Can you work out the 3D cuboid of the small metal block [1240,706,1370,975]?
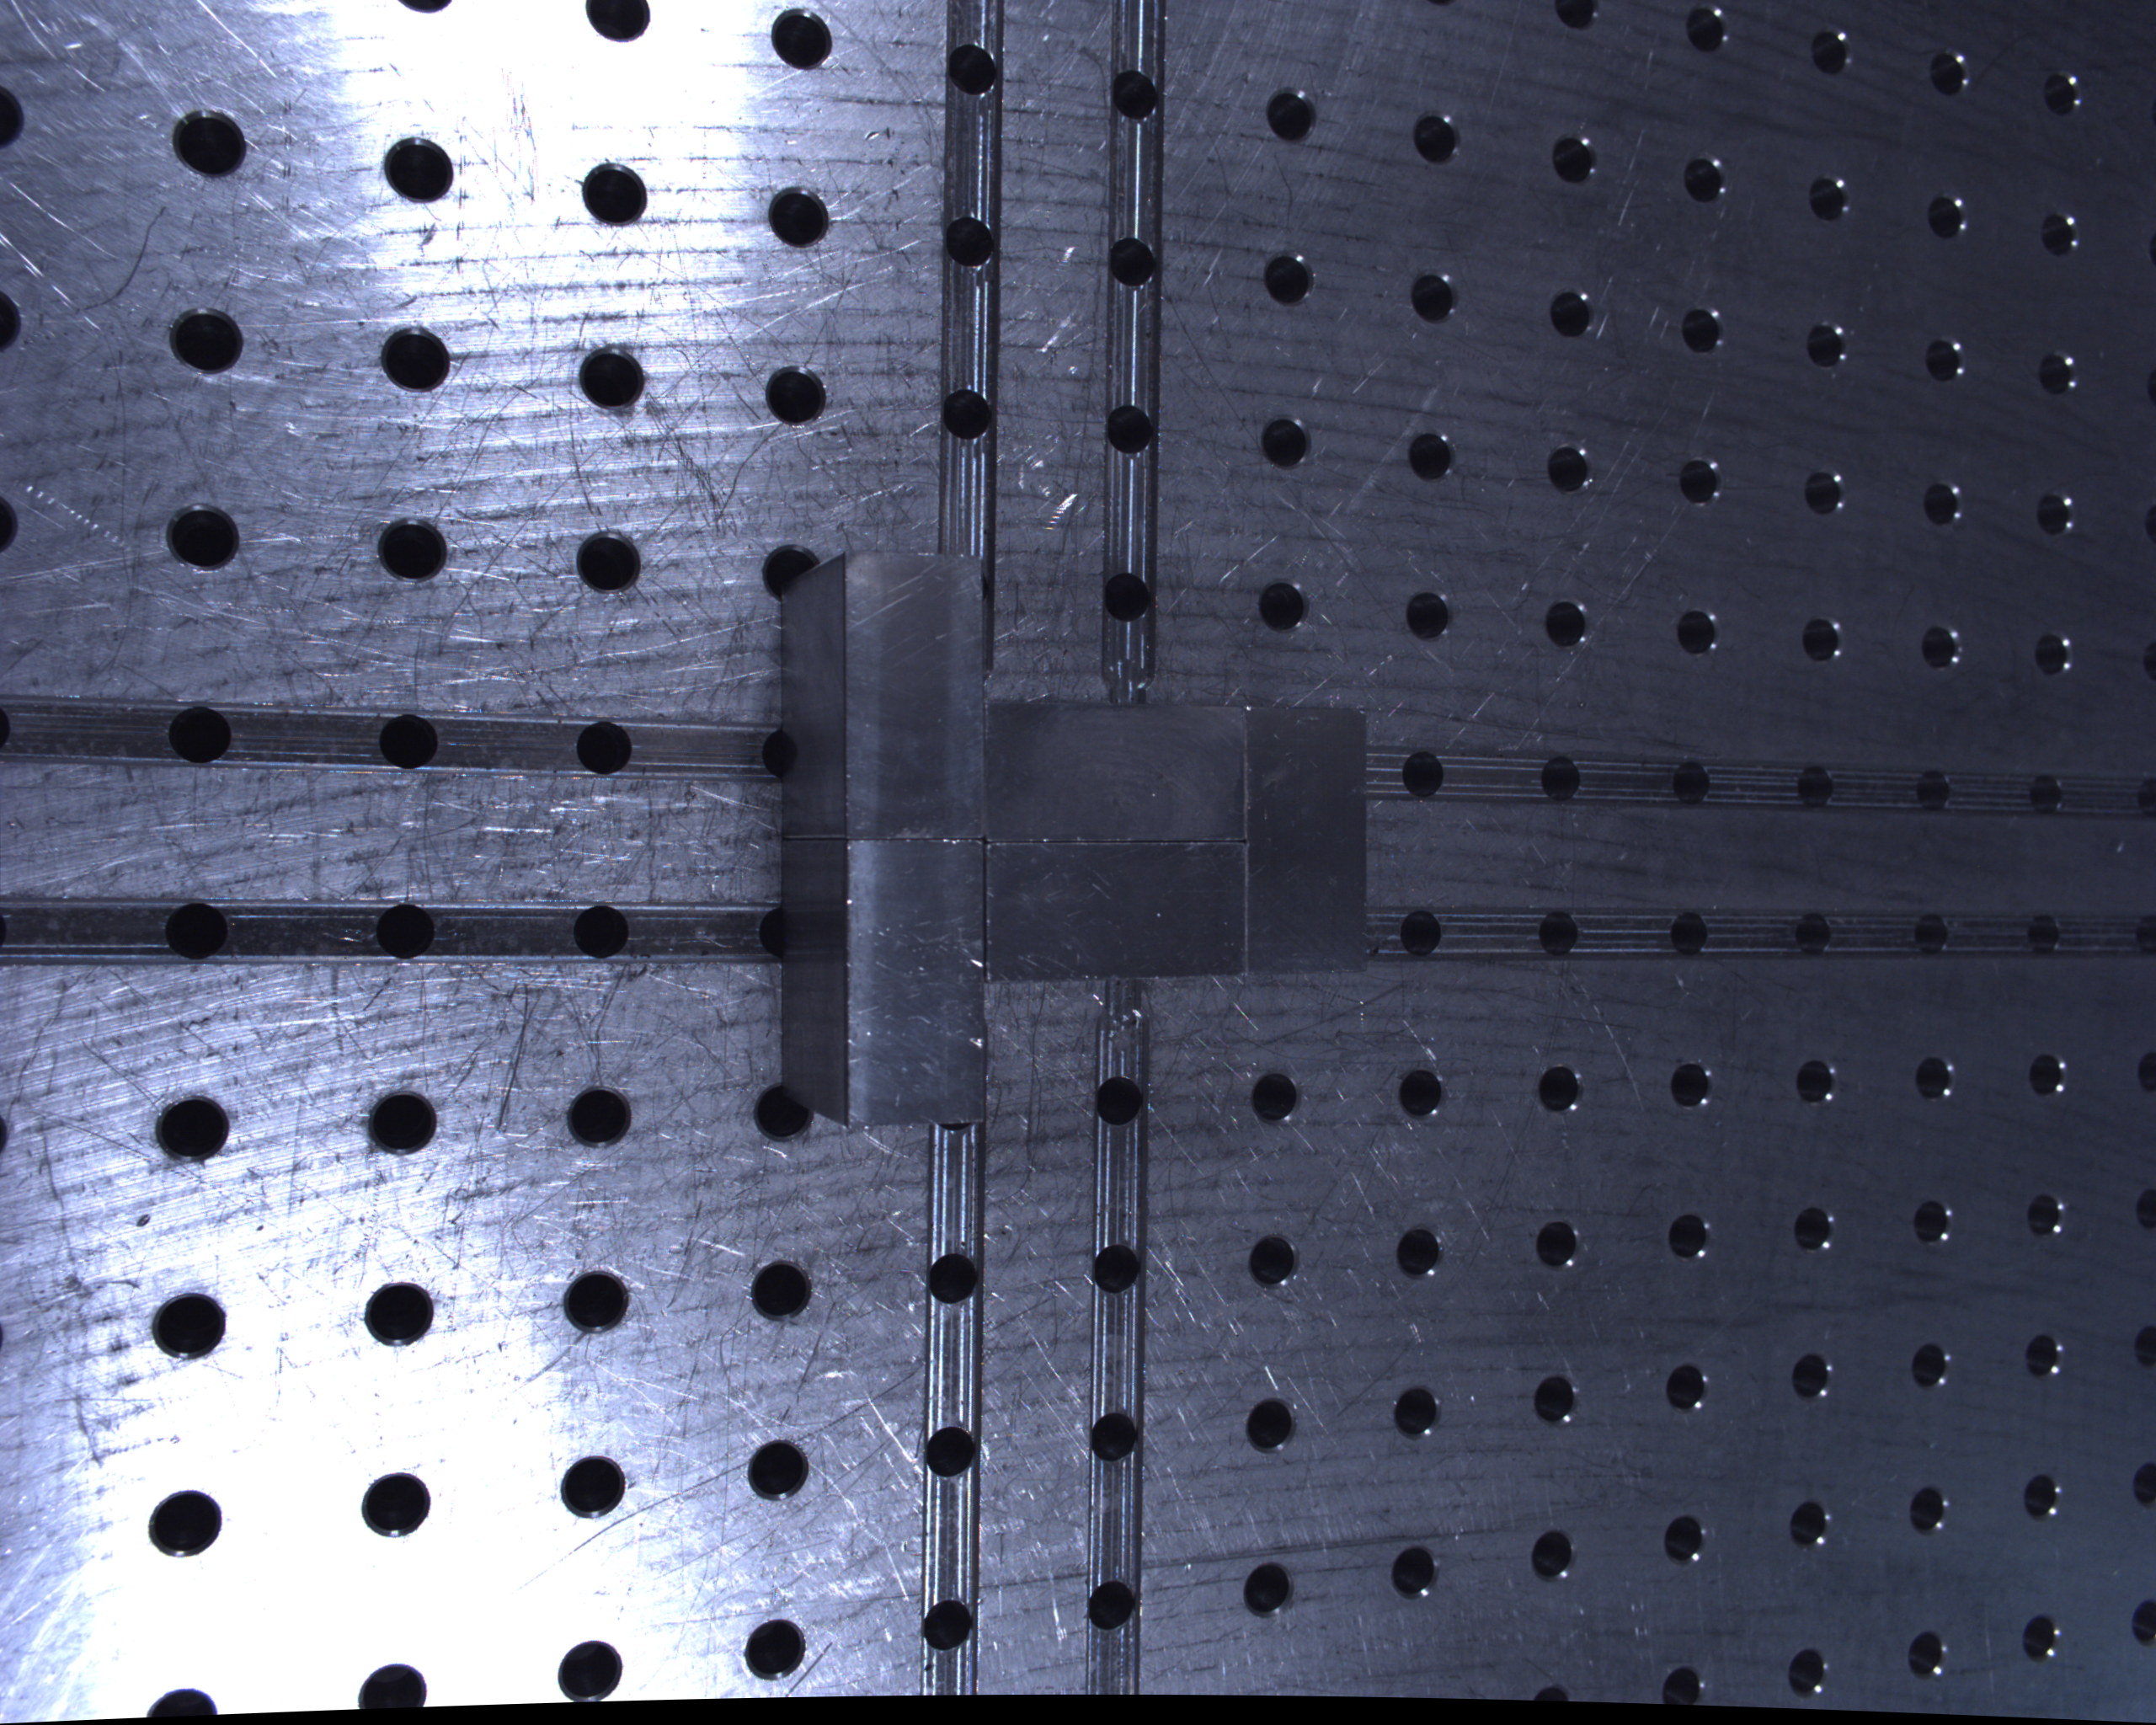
[{"bbox_3d":[0.035,-0.004,0.412,0.025,0.050,0.050,0,90,-20],"label":"small metal block"}]

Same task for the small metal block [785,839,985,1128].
[{"bbox_3d":[-0.037,0.021,0.386,0.025,0.050,0.050,0,90,-20],"label":"small metal block"}]

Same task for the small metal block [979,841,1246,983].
[{"bbox_3d":[-0.001,0.008,0.399,0.050,0.050,0.025,0,90,-20],"label":"small metal block"}]

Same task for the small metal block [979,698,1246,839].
[{"bbox_3d":[-0.001,-0.017,0.399,0.050,0.050,0.025,0,90,-20],"label":"small metal block"}]

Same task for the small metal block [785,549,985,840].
[{"bbox_3d":[-0.037,-0.029,0.386,0.025,0.050,0.050,0,90,-20],"label":"small metal block"}]
